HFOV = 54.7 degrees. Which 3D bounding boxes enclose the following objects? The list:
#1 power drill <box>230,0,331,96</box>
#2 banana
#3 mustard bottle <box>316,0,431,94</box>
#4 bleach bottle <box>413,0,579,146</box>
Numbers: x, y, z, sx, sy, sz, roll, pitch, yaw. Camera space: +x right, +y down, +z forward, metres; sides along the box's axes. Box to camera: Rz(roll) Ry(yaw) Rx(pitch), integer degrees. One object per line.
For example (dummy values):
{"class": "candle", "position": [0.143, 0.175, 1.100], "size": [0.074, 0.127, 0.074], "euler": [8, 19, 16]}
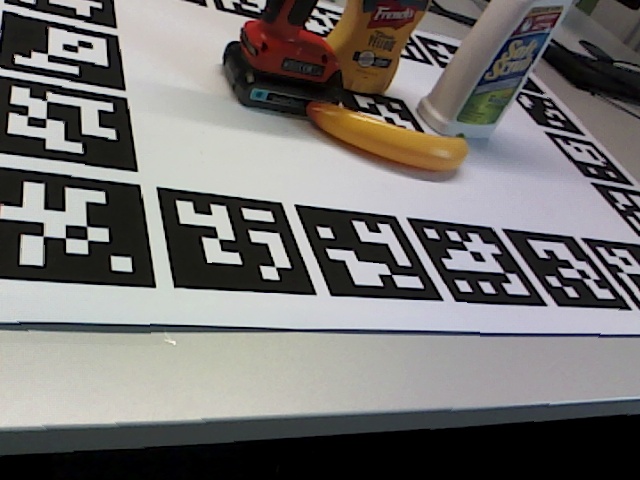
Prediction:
{"class": "power drill", "position": [0.005, -0.237, 0.591], "size": [0.183, 0.187, 0.058], "euler": [5, 36, -32]}
{"class": "banana", "position": [0.086, -0.105, 0.642], "size": [0.196, 0.039, 0.074], "euler": [6, 47, -24]}
{"class": "mustard bottle", "position": [0.071, -0.259, 0.689], "size": [0.095, 0.191, 0.059], "euler": [6, 42, -28]}
{"class": "bleach bottle", "position": [0.209, -0.222, 0.697], "size": [0.102, 0.251, 0.068], "euler": [-2, 48, -34]}
